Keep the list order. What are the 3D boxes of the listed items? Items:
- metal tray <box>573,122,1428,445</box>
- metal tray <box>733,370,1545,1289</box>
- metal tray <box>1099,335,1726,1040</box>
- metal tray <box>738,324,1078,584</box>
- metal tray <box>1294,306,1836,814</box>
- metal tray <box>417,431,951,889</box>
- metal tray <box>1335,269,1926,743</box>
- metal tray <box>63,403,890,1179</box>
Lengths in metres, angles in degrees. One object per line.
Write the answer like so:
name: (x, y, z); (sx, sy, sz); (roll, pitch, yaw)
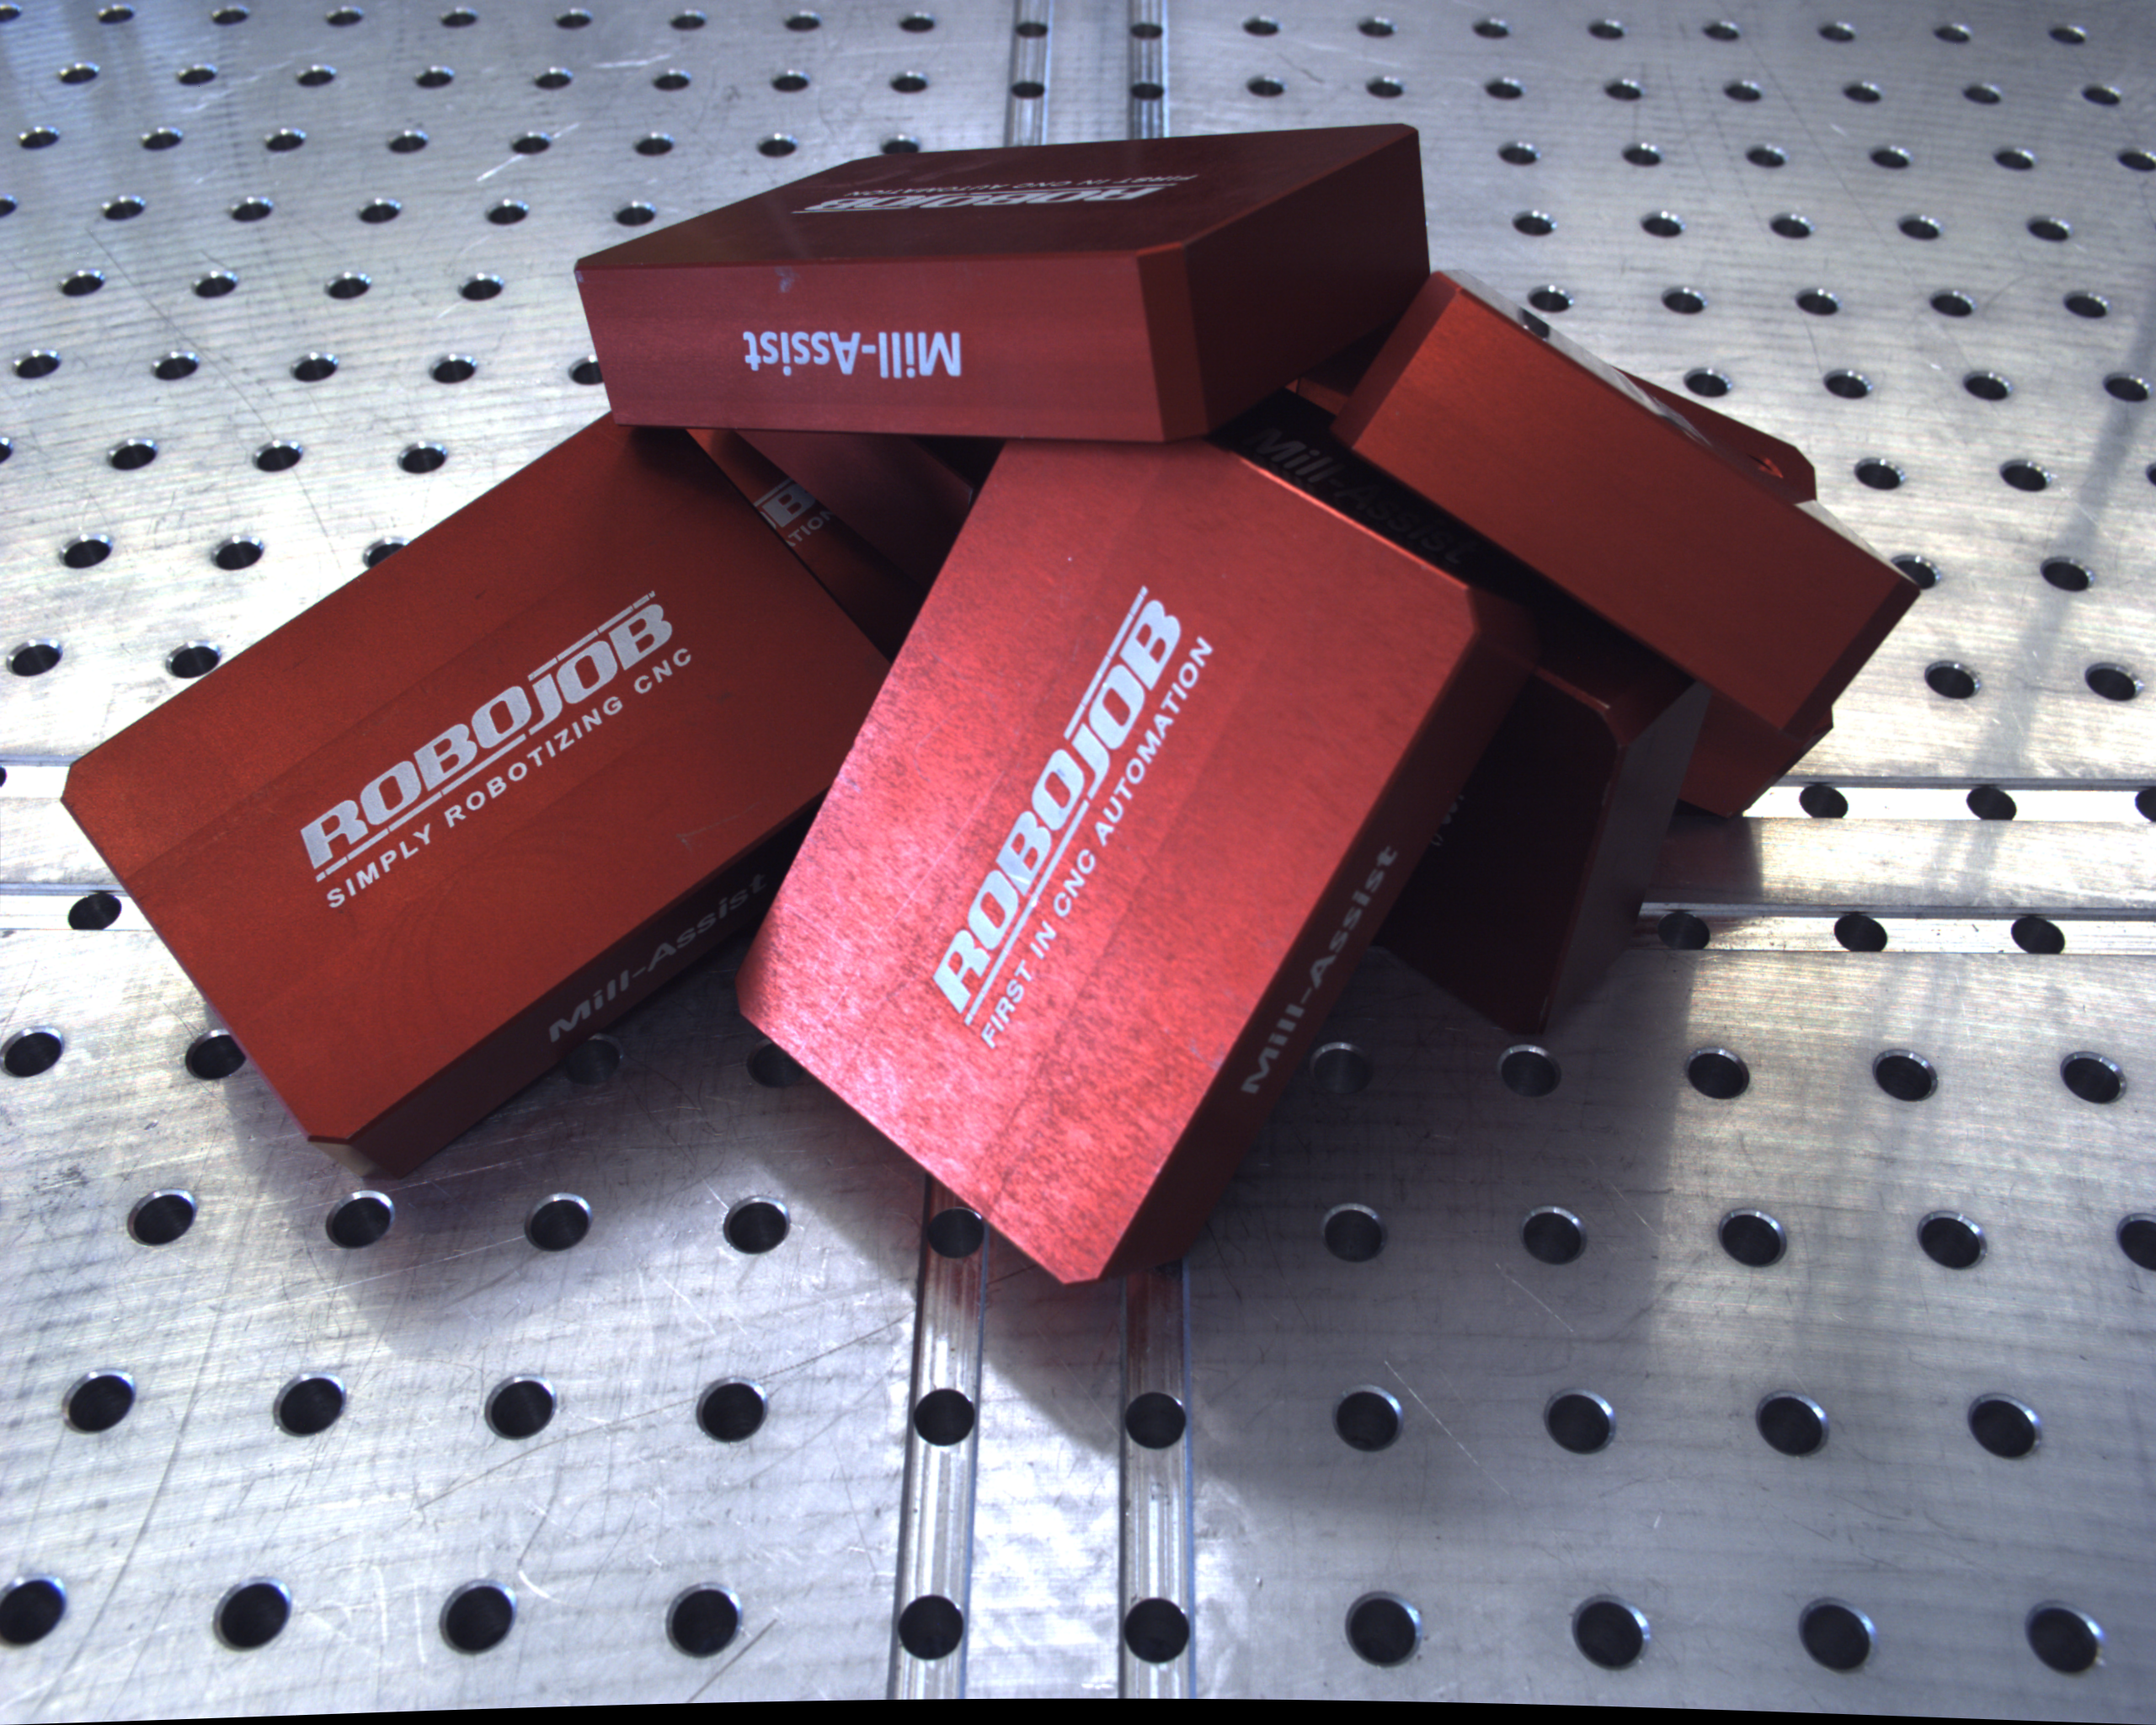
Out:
metal tray: (-0.014, -0.106, 0.379); (0.130, 0.030, 0.090); (10, 33, 34)
metal tray: (0.006, -0.006, 0.353); (0.090, 0.129, 0.030); (36, 17, 25)
metal tray: (0.051, -0.034, 0.396); (0.130, 0.090, 0.030); (37, 60, 27)
metal tray: (-0.005, -0.109, 0.472); (0.131, 0.030, 0.090); (-26, 56, -38)
metal tray: (0.091, -0.072, 0.437); (0.131, 0.030, 0.090); (21, 50, -9)
metal tray: (-0.081, -0.048, 0.443); (0.090, 0.030, 0.131); (32, 57, 24)
metal tray: (0.098, -0.071, 0.383); (0.090, 0.030, 0.130); (34, 20, 1)
metal tray: (-0.104, -0.016, 0.388); (0.130, 0.030, 0.090); (-38, 75, -14)
